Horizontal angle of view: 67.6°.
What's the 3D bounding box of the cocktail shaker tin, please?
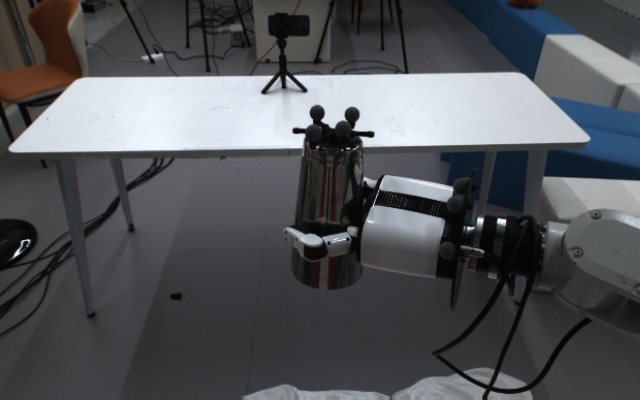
[{"bbox_3d":[0.014,0.009,0.571,0.093,0.170,0.093,2,28,-1],"label":"cocktail shaker tin"}]
